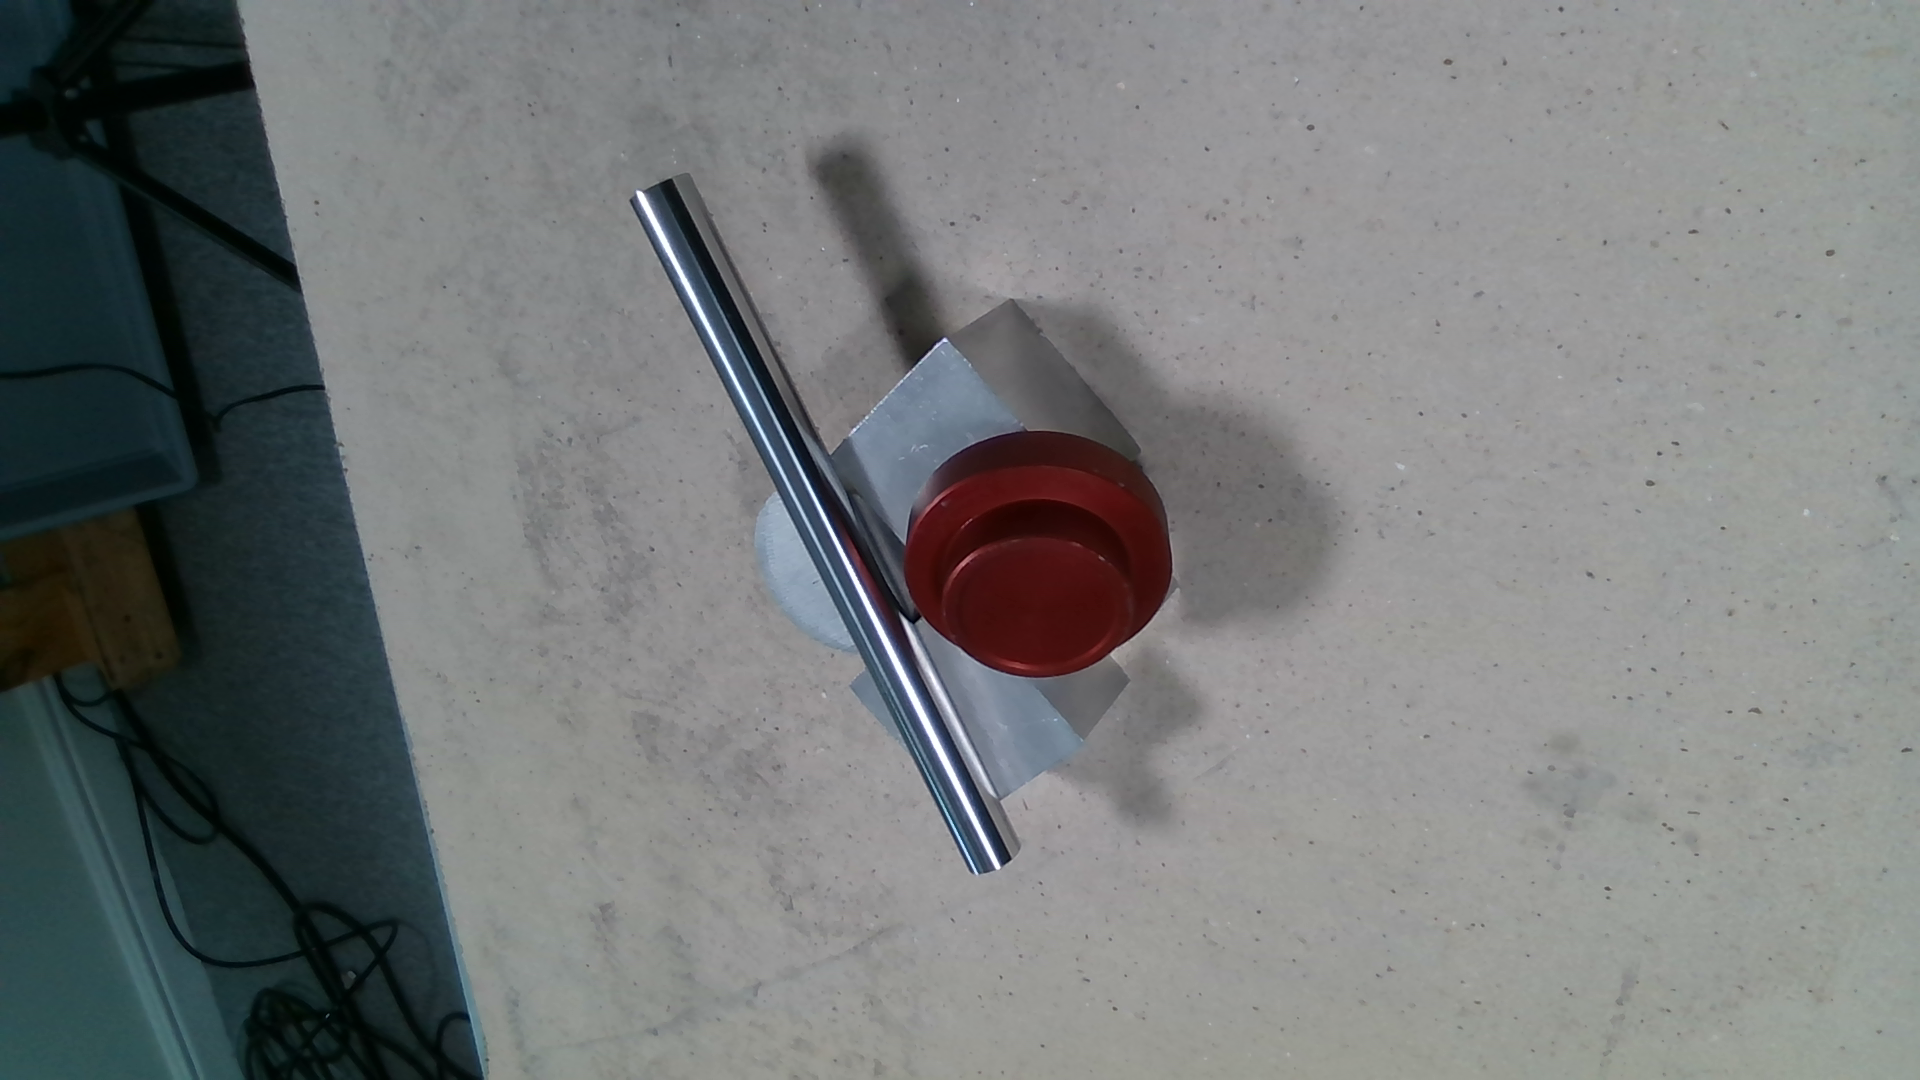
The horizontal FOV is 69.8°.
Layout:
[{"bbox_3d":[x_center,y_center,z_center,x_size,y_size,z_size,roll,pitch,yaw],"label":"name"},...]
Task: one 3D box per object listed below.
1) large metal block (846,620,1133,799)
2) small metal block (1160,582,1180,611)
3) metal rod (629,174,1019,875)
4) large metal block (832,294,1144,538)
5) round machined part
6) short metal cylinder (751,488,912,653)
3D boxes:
[{"bbox_3d":[0.012,0.061,0.590,0.080,0.050,0.080,48,129,0],"label":"large metal block"},{"bbox_3d":[0.051,0.017,0.557,0.050,0.025,0.050,49,129,-1],"label":"small metal block"},{"bbox_3d":[-0.049,0.001,0.546,0.025,0.025,0.300,-16,106,36],"label":"metal rod"},{"bbox_3d":[0.010,-0.034,0.538,0.080,0.050,0.080,49,129,-1],"label":"large metal block"},{"bbox_3d":[0.028,0.012,0.501,0.098,0.042,0.098,1,129,2],"label":"round machined part"},{"bbox_3d":[-0.042,0.002,0.590,0.080,0.050,0.080,14,122,25],"label":"short metal cylinder"}]
